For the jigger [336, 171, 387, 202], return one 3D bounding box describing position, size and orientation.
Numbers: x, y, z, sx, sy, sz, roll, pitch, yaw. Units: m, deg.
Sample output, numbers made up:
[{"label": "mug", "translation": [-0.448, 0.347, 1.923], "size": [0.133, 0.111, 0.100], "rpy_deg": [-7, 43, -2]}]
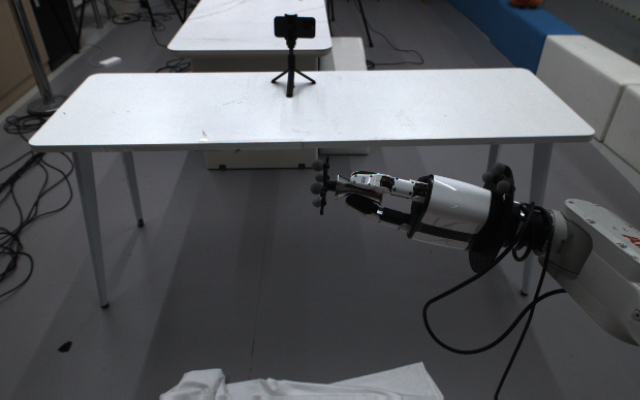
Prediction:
[{"label": "jigger", "translation": [0.065, -0.022, 0.715], "size": [0.071, 0.043, 0.043], "rpy_deg": [4, 35, 2]}]
